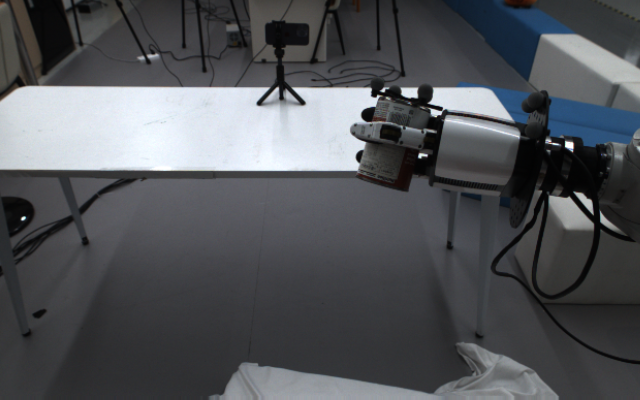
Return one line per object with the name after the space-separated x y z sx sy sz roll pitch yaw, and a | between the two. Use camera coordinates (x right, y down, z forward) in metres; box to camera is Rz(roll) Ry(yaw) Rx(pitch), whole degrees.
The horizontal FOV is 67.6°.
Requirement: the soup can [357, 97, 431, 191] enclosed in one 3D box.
0.090 -0.068 0.593 0.067 0.101 0.067 15 7 -2 | soup can
